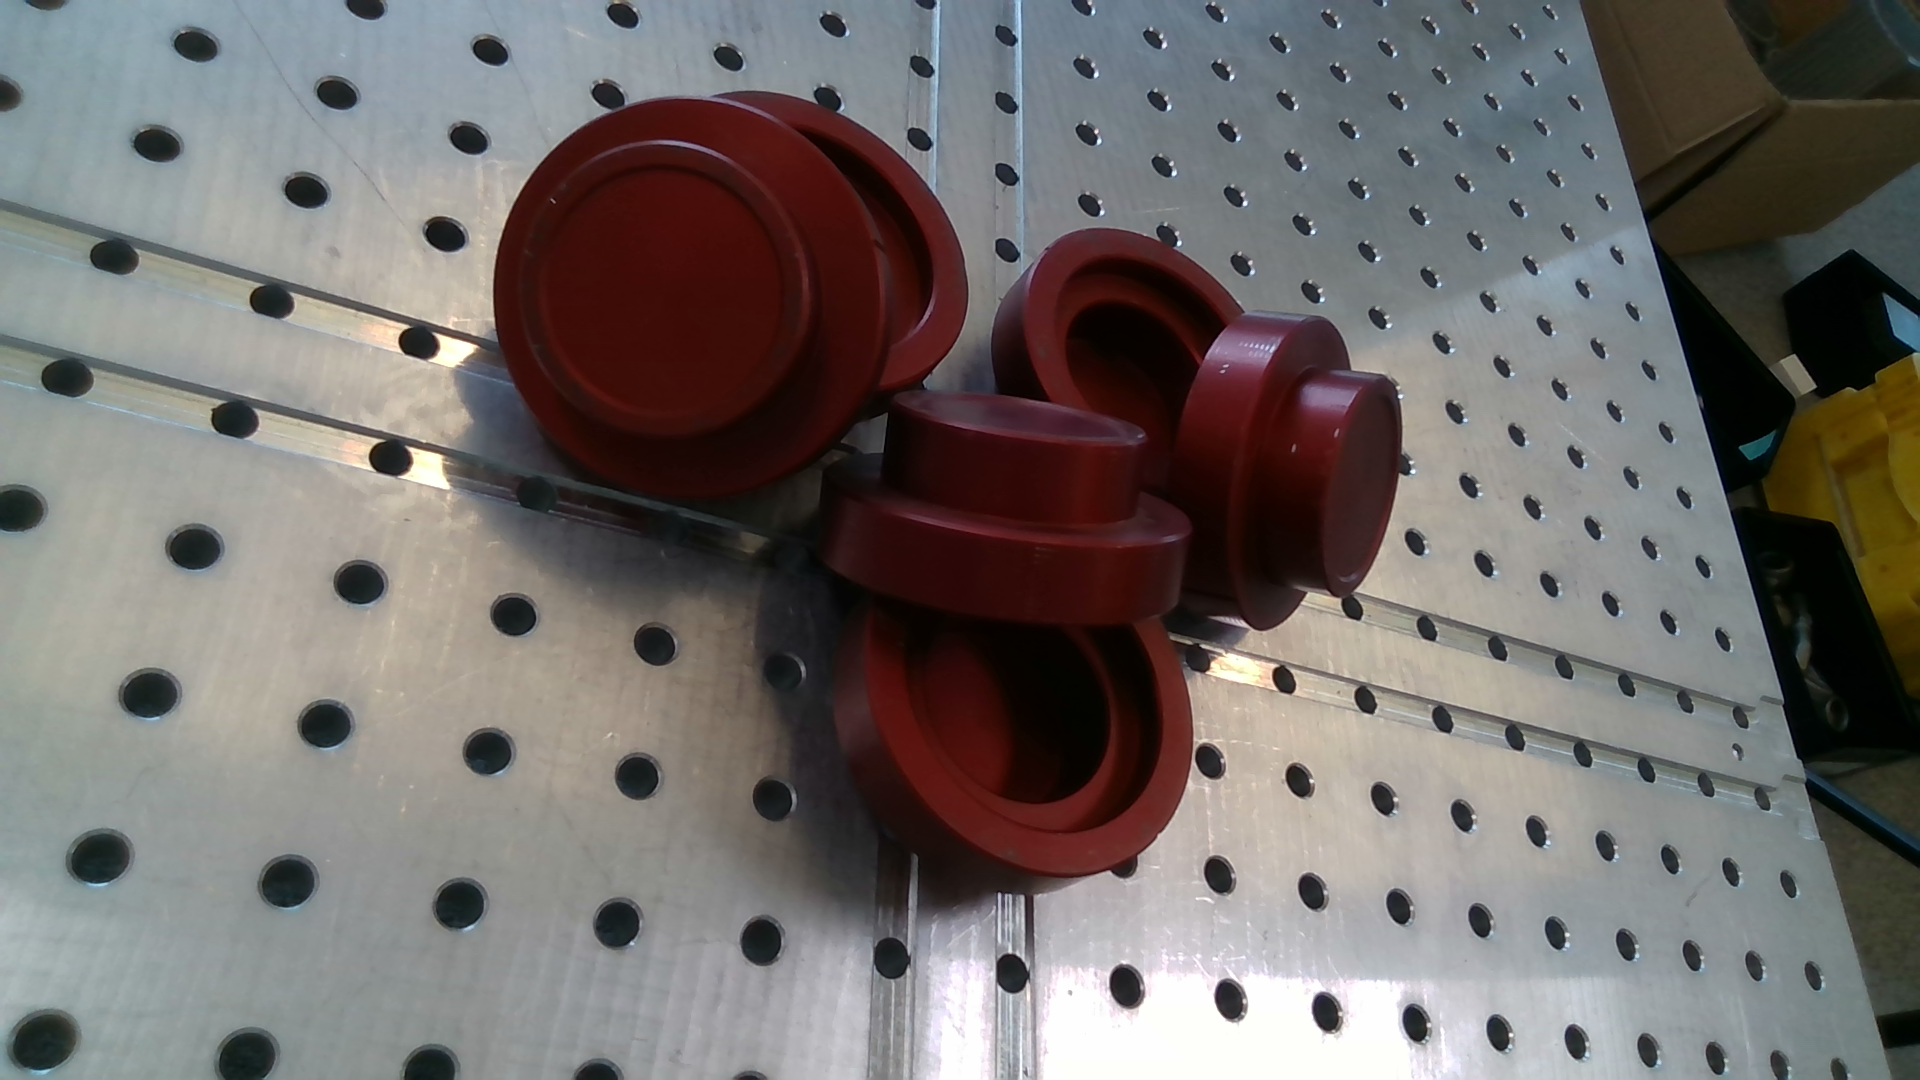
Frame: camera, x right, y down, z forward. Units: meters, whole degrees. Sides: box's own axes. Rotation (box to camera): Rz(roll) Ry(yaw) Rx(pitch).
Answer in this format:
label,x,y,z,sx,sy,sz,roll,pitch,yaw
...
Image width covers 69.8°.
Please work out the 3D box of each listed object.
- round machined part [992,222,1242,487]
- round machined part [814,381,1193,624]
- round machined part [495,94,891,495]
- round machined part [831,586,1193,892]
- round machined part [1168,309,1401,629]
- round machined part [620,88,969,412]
label,x,y,z,sx,sy,sz,roll,pitch,yaw
round machined part,0.052,-0.049,0.443,0.098,0.042,0.098,14,59,-25
round machined part,0.013,-0.014,0.362,0.098,0.098,0.042,0,107,-31
round machined part,-0.067,-0.060,0.339,0.098,0.042,0.098,0,95,4
round machined part,0.010,0.045,0.367,0.098,0.042,0.098,14,59,-25
round machined part,0.104,-0.020,0.424,0.098,0.042,0.098,-28,125,-50
round machined part,-0.050,-0.076,0.395,0.098,0.042,0.098,14,59,-25
